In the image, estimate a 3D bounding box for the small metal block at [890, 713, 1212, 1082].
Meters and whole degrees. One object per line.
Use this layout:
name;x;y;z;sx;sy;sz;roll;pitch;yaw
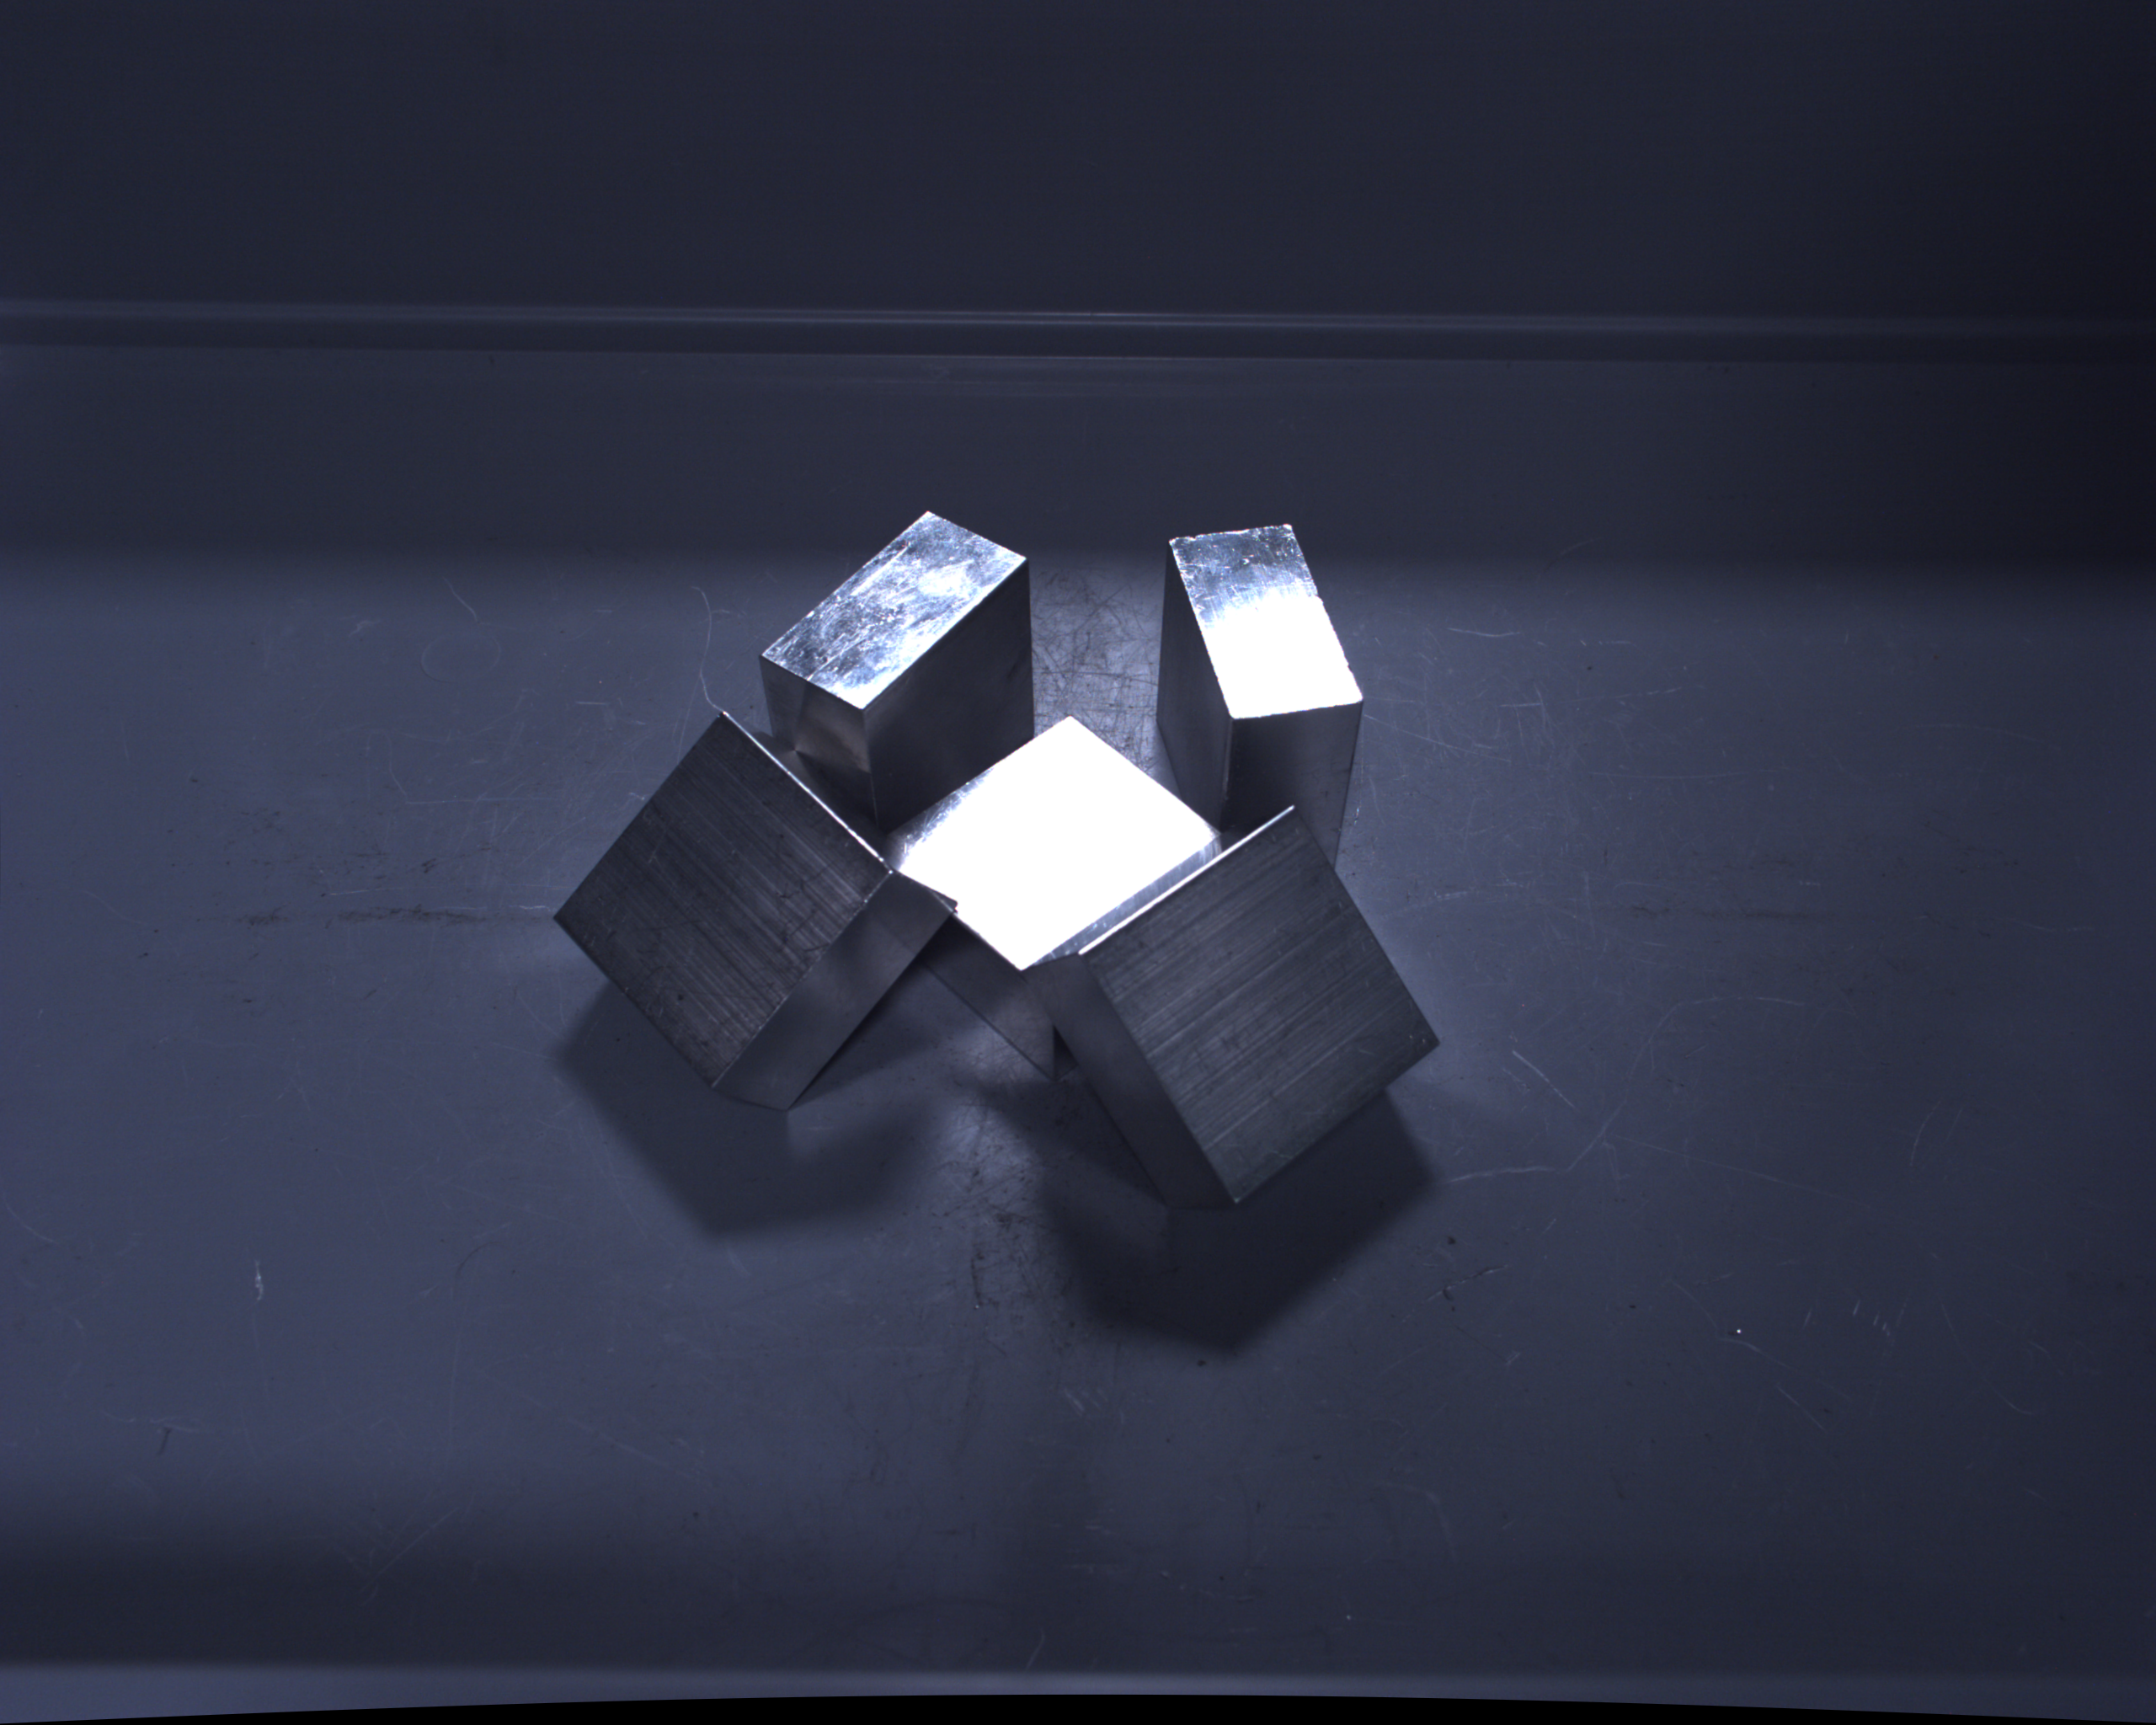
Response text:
small metal block;-0.004;0.006;0.397;0.050;0.025;0.050;-35;58;-26

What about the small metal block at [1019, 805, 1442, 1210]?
small metal block;0.027;0.026;0.365;0.050;0.025;0.050;-34;95;-26

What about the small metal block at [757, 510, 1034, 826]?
small metal block;-0.034;-0.033;0.413;0.025;0.050;0.050;29;56;22

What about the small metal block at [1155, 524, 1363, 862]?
small metal block;0.034;-0.030;0.412;0.025;0.050;0.050;-8;50;-8

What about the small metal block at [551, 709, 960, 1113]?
small metal block;-0.059;0.009;0.380;0.050;0.025;0.050;41;94;29
